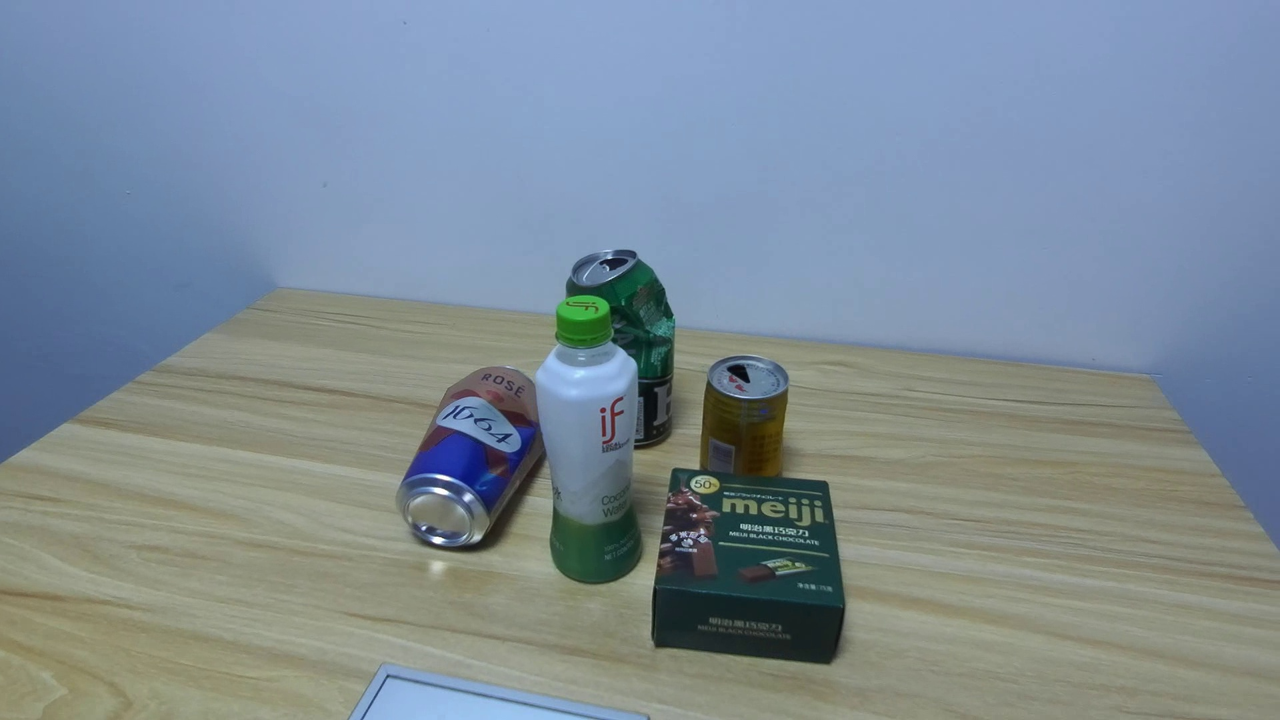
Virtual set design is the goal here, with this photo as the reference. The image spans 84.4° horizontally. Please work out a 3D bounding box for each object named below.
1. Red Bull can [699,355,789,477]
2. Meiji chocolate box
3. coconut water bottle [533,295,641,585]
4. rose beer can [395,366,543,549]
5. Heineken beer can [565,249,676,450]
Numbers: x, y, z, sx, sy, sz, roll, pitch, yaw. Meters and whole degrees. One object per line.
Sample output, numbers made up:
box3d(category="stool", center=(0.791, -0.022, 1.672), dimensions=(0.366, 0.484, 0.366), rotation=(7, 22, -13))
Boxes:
box3d(category="Red Bull can", center=(0.078, 0.051, 0.534), dimensions=(0.069, 0.092, 0.069), rotation=(1, 28, 0))
box3d(category="Meiji chocolate box", center=(0.067, 0.127, 0.449), dimensions=(0.110, 0.056, 0.109), rotation=(4, 31, 6))
box3d(category="coconut water bottle", center=(-0.031, 0.052, 0.442), dimensions=(0.063, 0.189, 0.063), rotation=(-1, 31, 1))
box3d(category="rose beer can", center=(-0.123, 0.065, 0.544), dimensions=(0.069, 0.069, 0.168), rotation=(-17, 28, 19))
box3d(category="Heineken beer can", center=(-0.009, -0.007, 0.575), dimensions=(0.079, 0.159, 0.067), rotation=(-14, 28, -8))
